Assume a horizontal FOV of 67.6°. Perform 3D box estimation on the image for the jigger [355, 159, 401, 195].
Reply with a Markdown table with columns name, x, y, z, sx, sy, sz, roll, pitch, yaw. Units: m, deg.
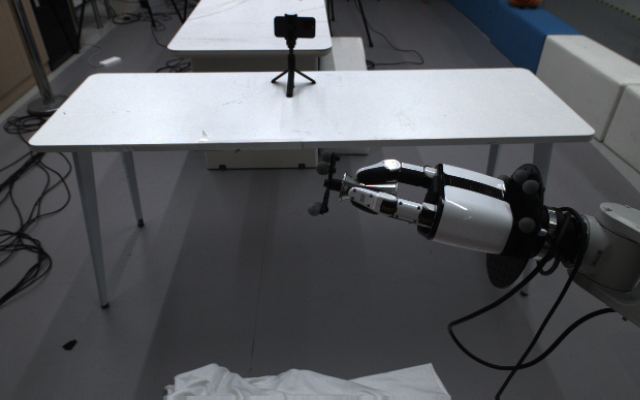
| name | x | y | z | sx | sy | sz | roll | pitch | yaw |
| --- | --- | --- | --- | --- | --- | --- | --- | --- | --- |
| jigger | 0.068 | -0.013 | 0.614 | 0.071 | 0.043 | 0.043 | 12 | 36 | 5 |
